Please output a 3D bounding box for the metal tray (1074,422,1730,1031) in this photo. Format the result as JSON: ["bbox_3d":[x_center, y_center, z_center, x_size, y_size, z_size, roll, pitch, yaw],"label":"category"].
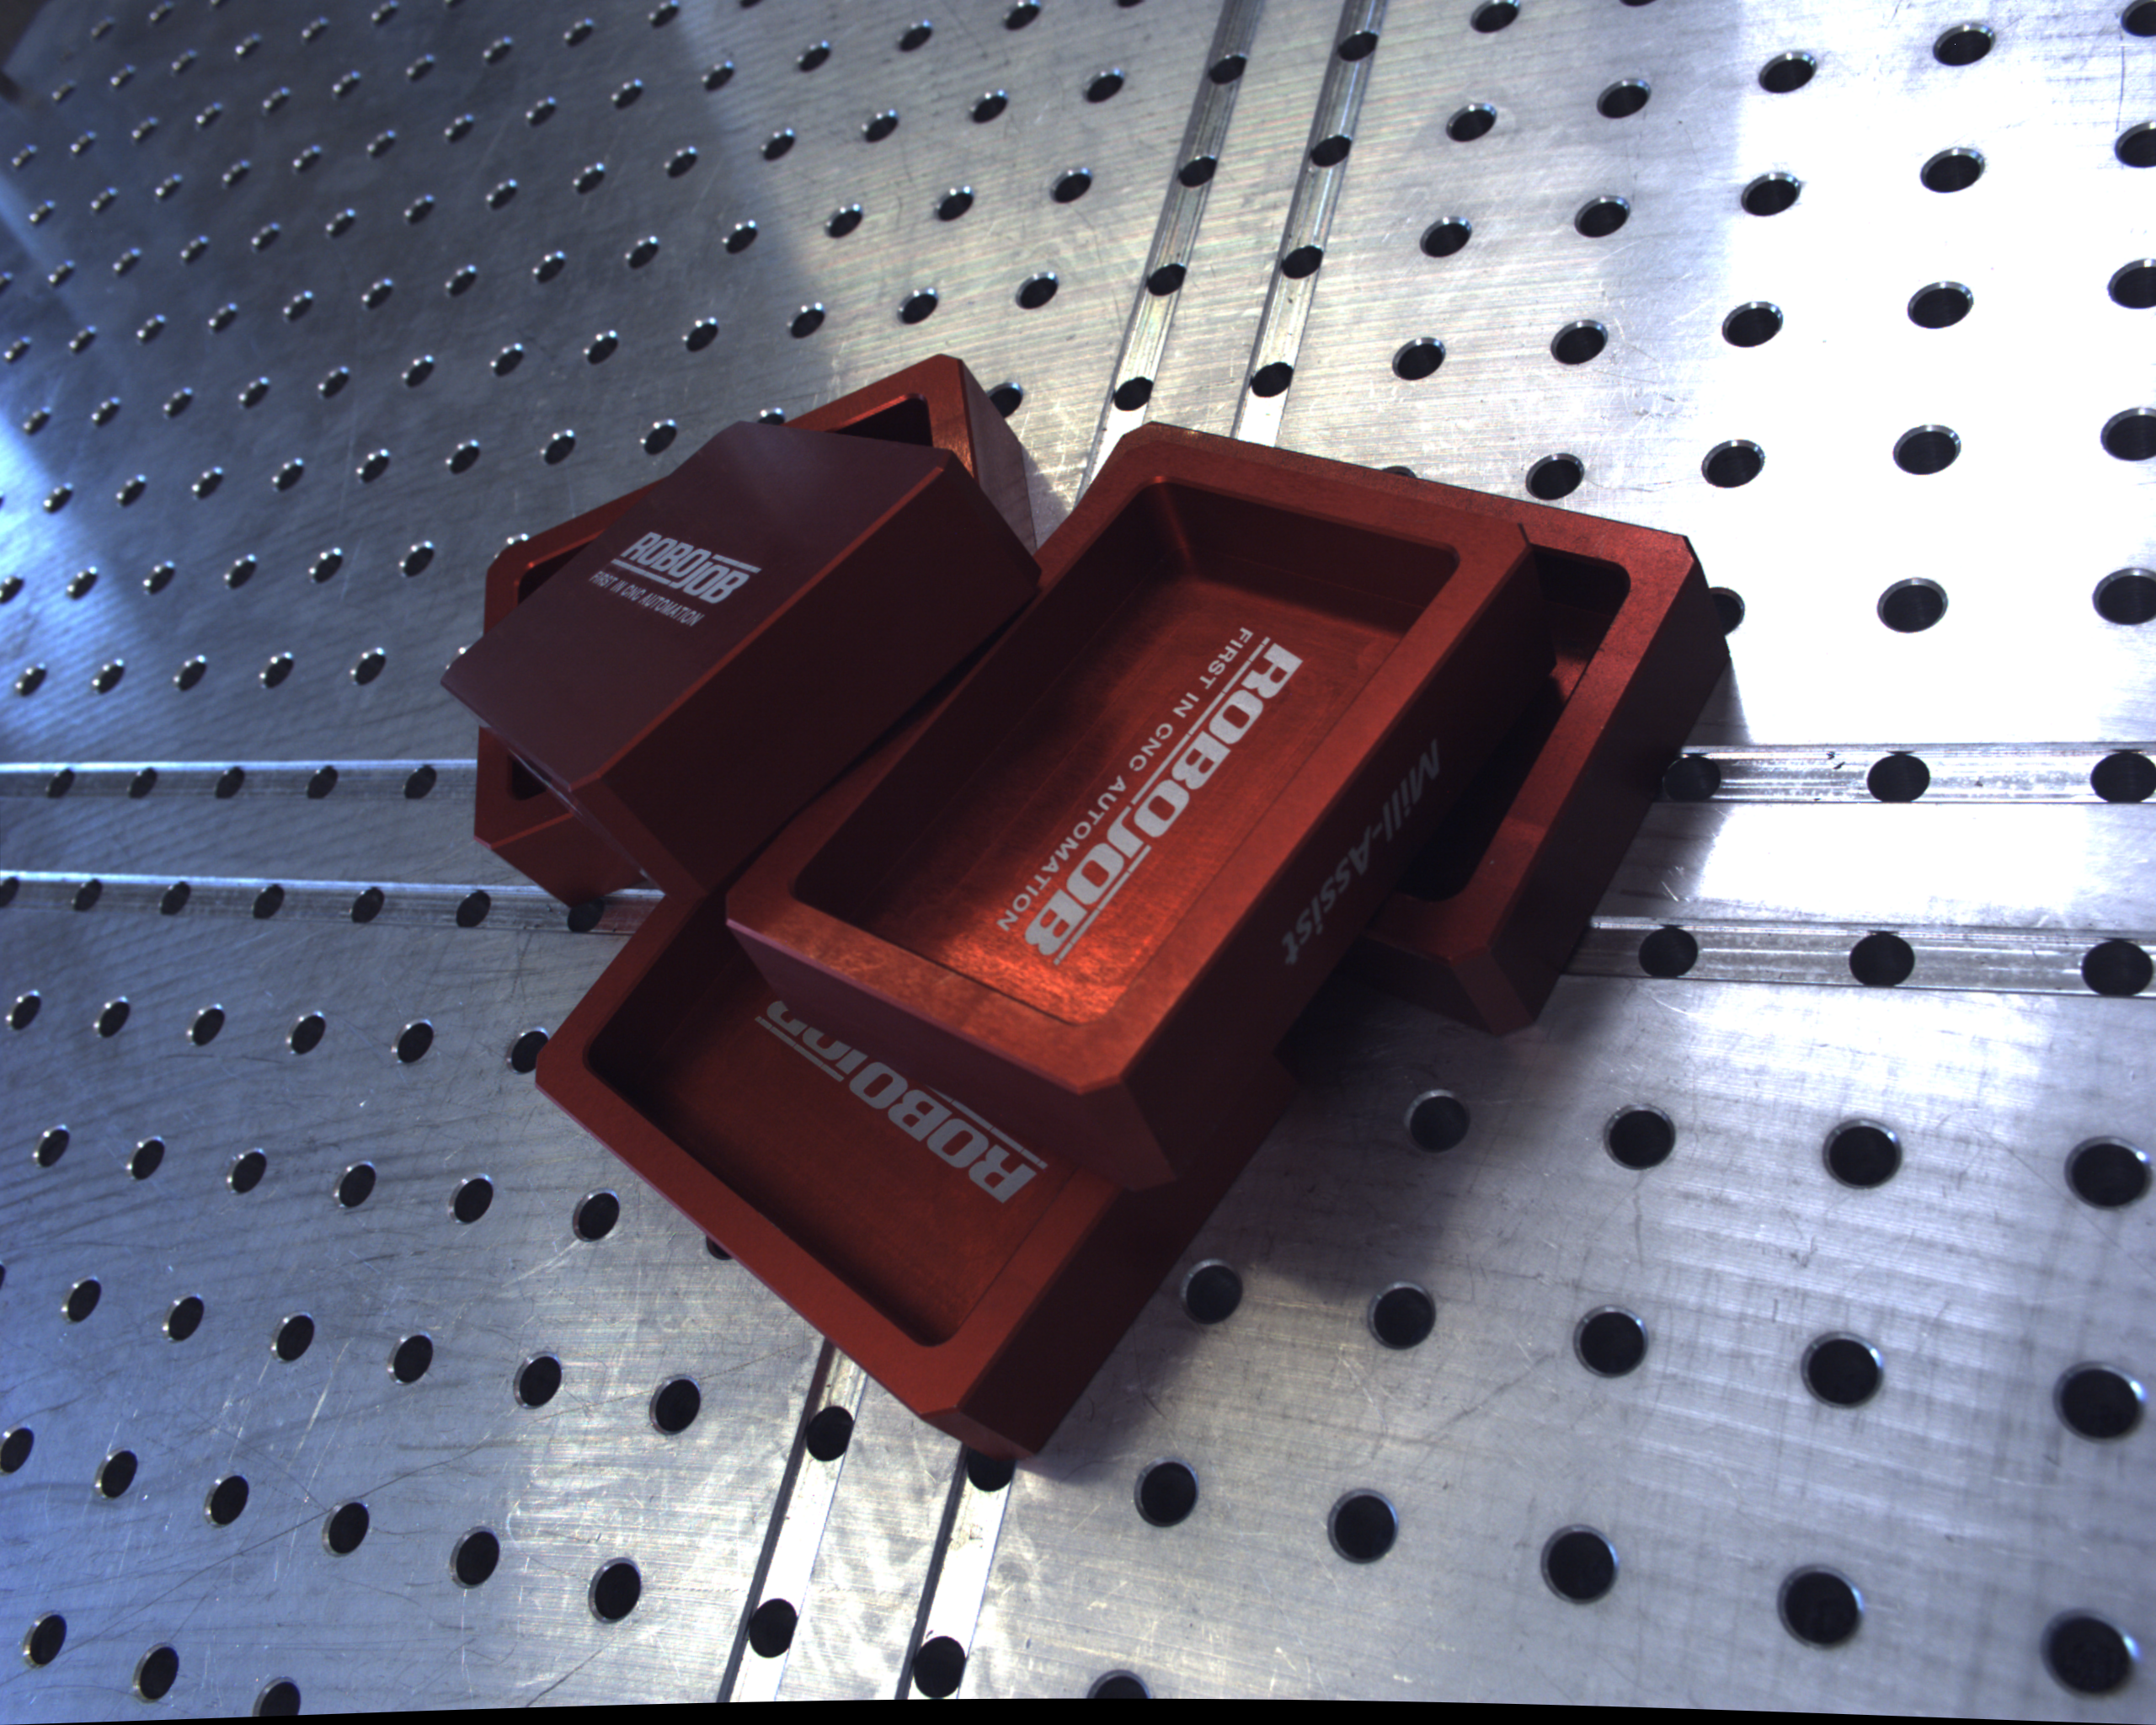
[{"bbox_3d":[0.044,-0.031,0.401,0.130,0.030,0.090,21,72,36],"label":"metal tray"}]

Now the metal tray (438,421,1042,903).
[{"bbox_3d":[-0.073,-0.047,0.421,0.090,0.030,0.130,-43,28,-11],"label":"metal tray"}]

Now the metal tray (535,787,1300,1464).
[{"bbox_3d":[-0.034,0.040,0.399,0.130,0.030,0.090,30,78,37],"label":"metal tray"}]

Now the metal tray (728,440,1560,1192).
[{"bbox_3d":[0.013,-0.015,0.368,0.090,0.030,0.130,22,62,36],"label":"metal tray"}]

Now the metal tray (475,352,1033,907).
[{"bbox_3d":[-0.074,-0.053,0.477,0.130,0.030,0.090,-20,54,16],"label":"metal tray"}]
